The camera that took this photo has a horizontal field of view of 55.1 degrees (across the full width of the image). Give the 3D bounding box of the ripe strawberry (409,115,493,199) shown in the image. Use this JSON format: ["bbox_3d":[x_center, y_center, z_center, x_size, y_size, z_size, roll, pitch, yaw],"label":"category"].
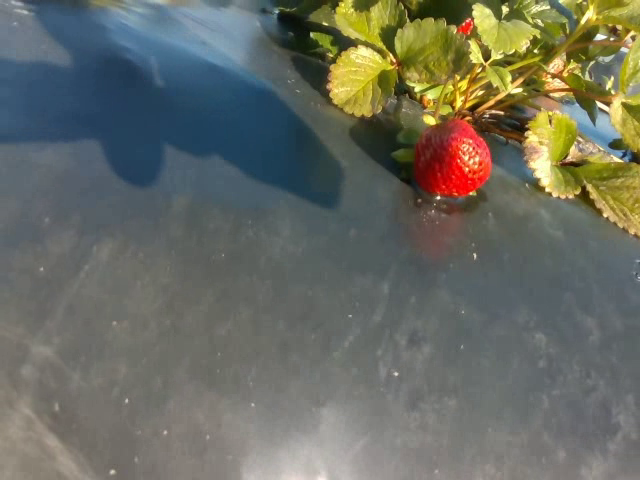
[{"bbox_3d":[0.040,-0.026,0.186,0.028,0.031,0.041,-2,-3,3],"label":"ripe strawberry"}]
